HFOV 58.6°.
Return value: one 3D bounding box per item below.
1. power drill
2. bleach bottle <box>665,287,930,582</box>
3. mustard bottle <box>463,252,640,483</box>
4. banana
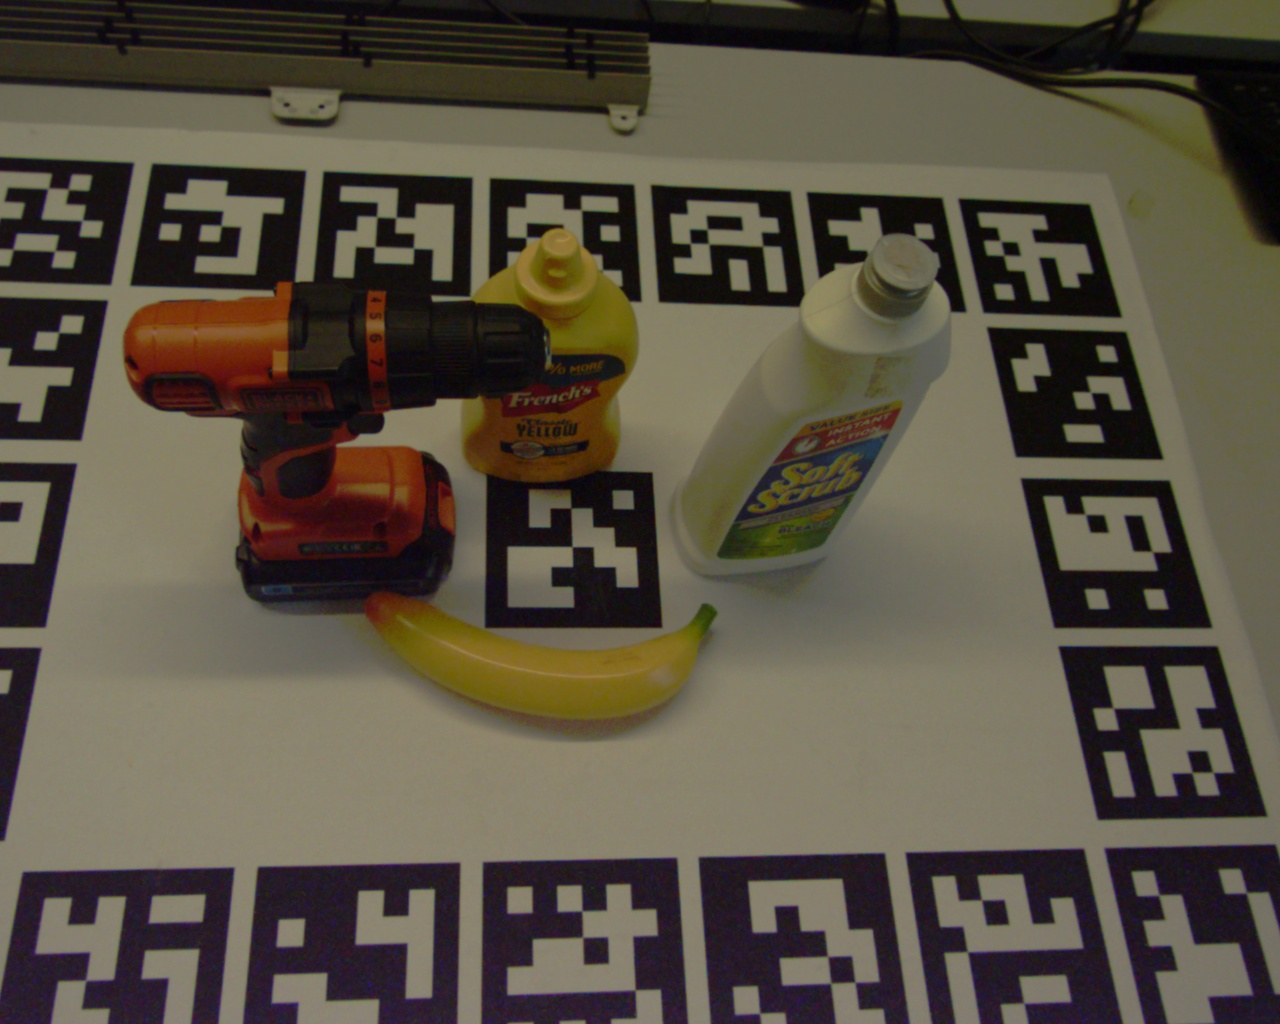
[{"bbox_3d":[-0.144,-0.035,0.593,0.183,0.187,0.057,-2,59,-12],"label":"power drill"},{"bbox_3d":[0.084,-0.038,0.622,0.102,0.251,0.068,-7,68,-12],"label":"bleach bottle"},{"bbox_3d":[-0.050,-0.082,0.648,0.096,0.192,0.058,1,65,-9],"label":"mustard bottle"},{"bbox_3d":[-0.048,0.079,0.655,0.197,0.039,0.074,2,69,-5],"label":"banana"}]
